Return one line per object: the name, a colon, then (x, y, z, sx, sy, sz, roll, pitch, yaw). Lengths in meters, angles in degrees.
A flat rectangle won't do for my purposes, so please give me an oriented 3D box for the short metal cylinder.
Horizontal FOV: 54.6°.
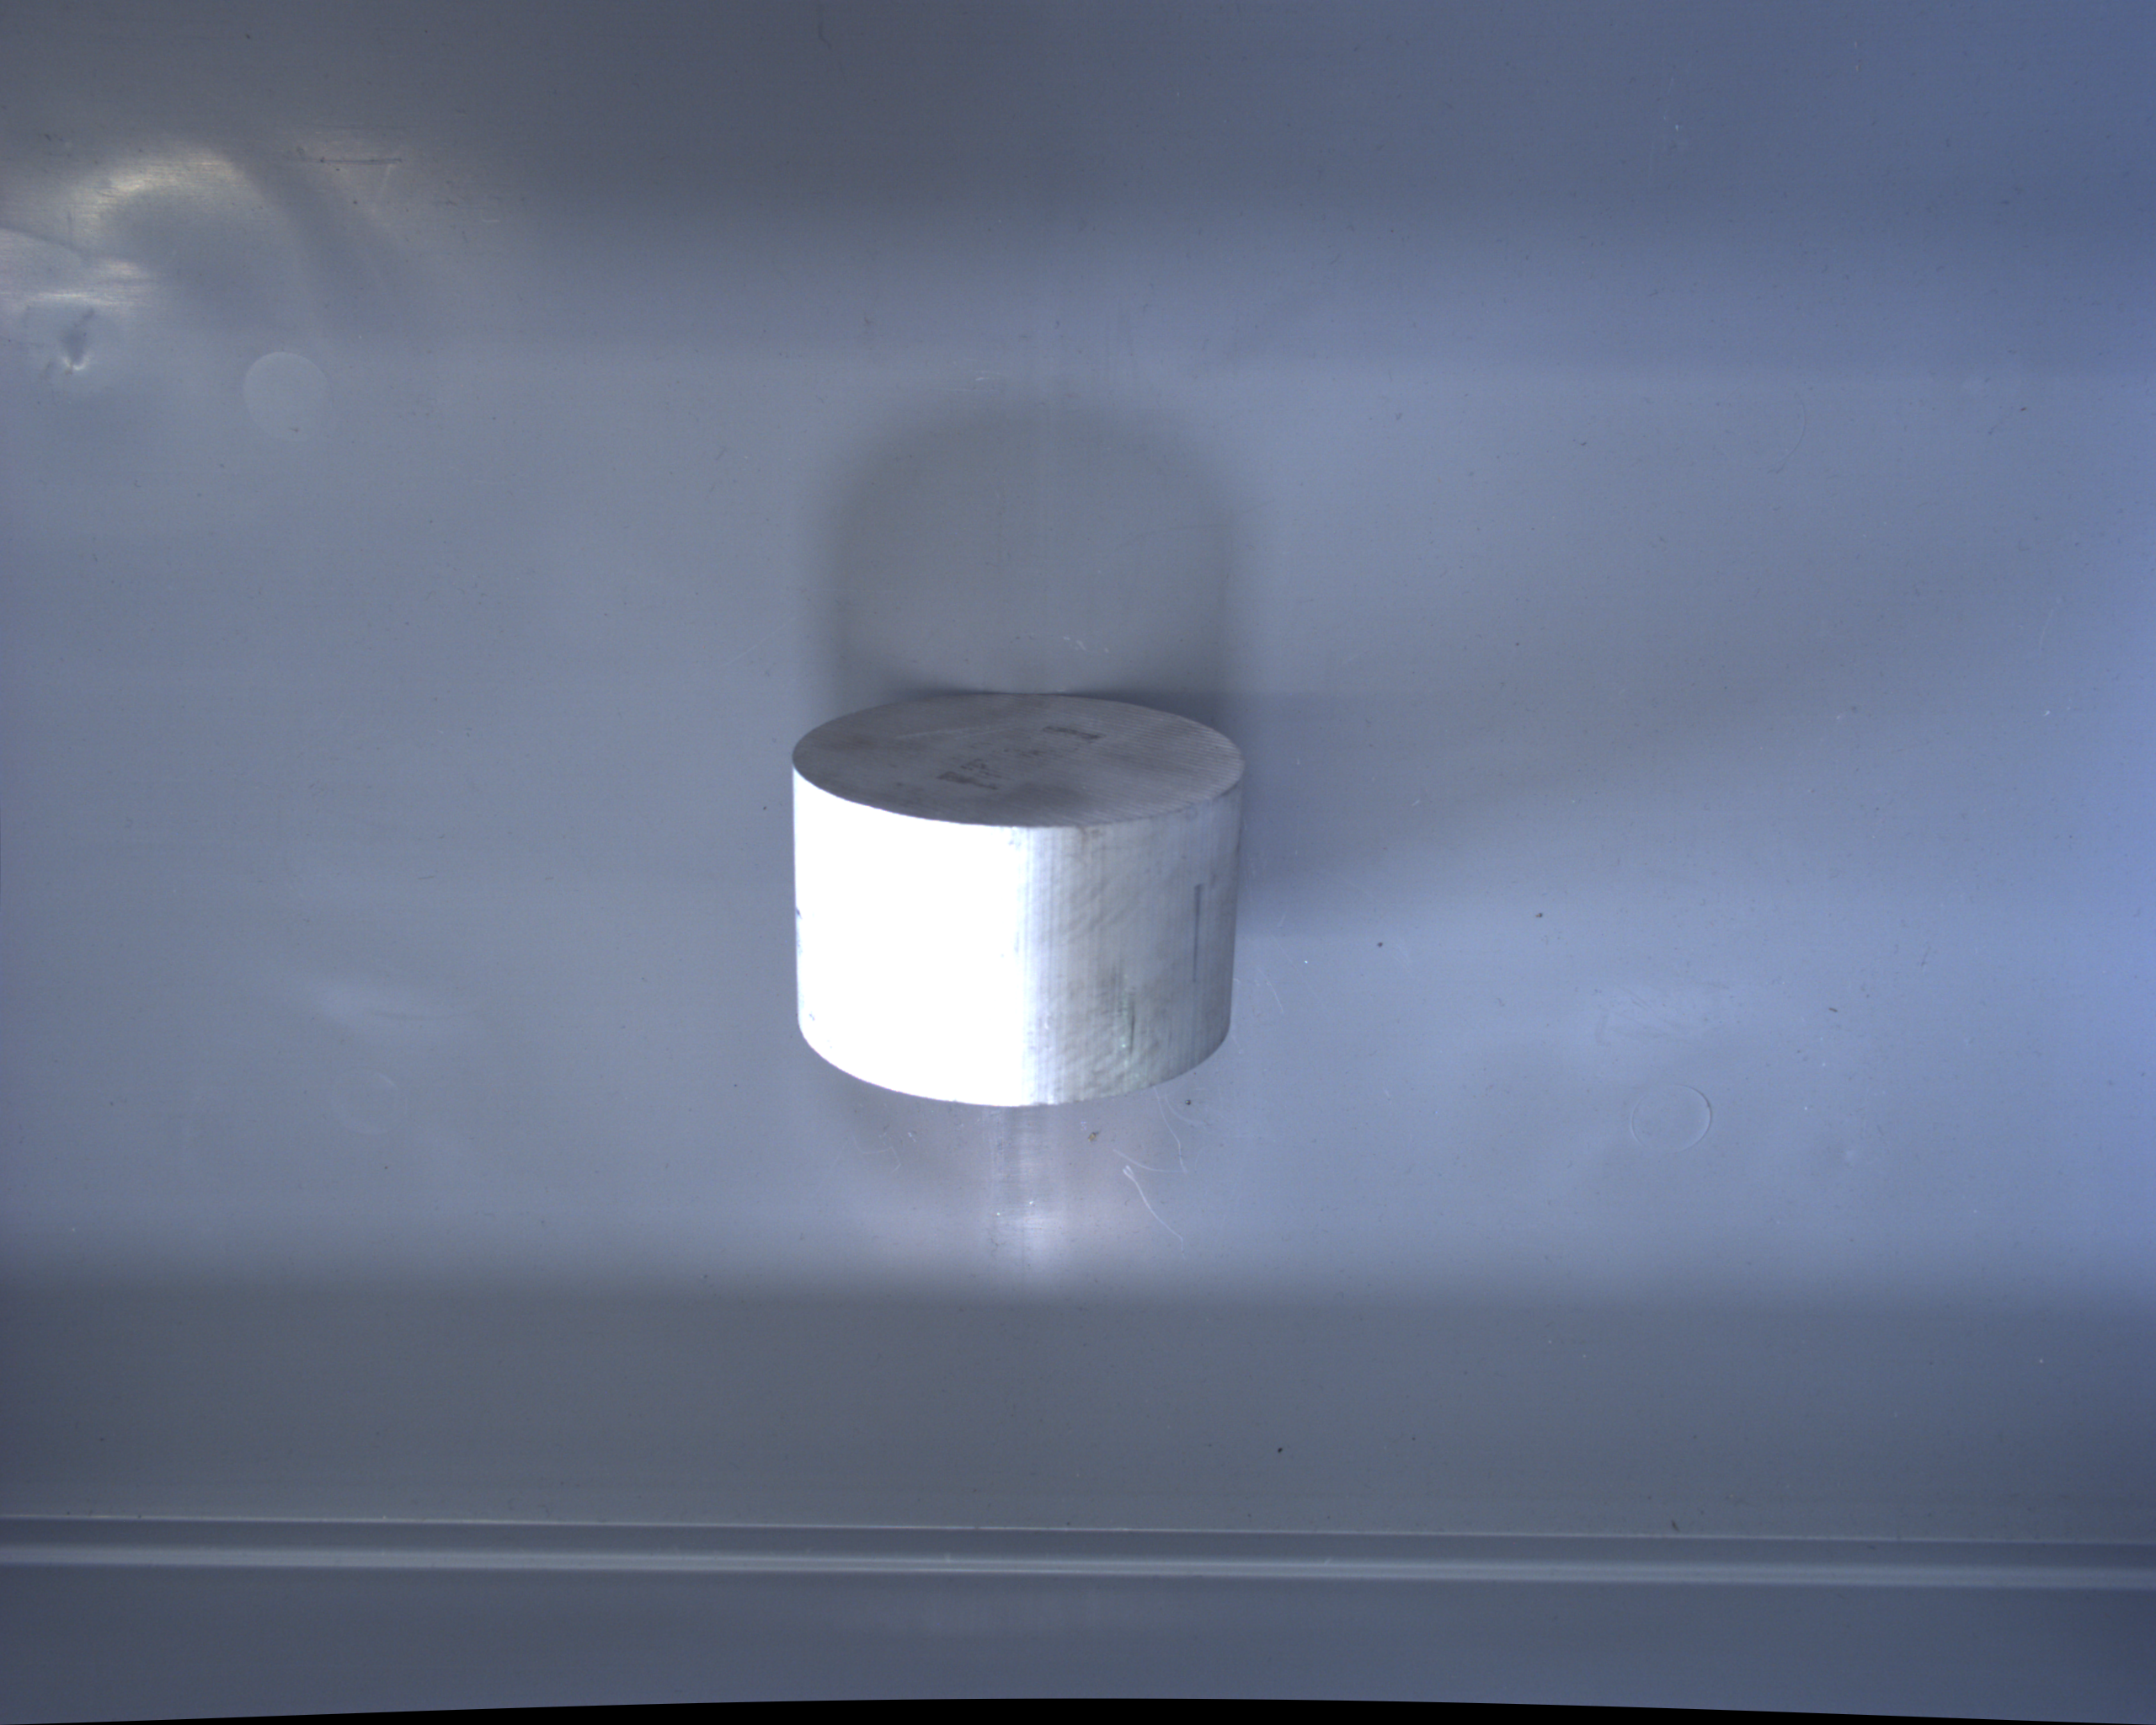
short metal cylinder: (-0.011, 0.004, 0.380, 0.080, 0.080, 0.050, 2, 110, -1)
